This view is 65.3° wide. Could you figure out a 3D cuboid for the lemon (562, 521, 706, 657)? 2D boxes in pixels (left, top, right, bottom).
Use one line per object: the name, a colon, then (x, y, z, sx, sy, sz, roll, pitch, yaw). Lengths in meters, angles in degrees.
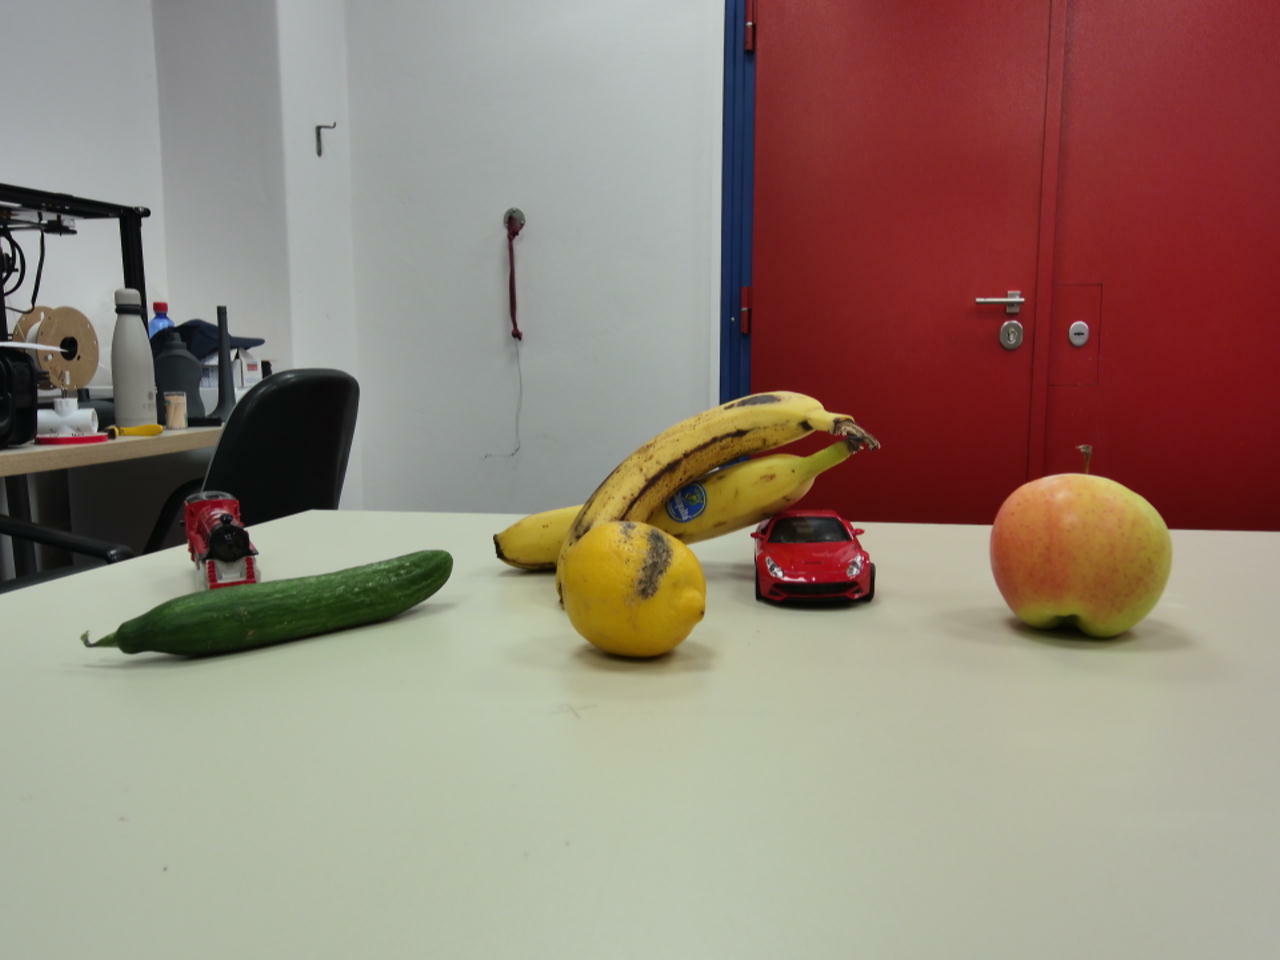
lemon: (-0.002, 0.046, 0.426, 0.061, 0.056, 0.058, 1, 4, 4)
